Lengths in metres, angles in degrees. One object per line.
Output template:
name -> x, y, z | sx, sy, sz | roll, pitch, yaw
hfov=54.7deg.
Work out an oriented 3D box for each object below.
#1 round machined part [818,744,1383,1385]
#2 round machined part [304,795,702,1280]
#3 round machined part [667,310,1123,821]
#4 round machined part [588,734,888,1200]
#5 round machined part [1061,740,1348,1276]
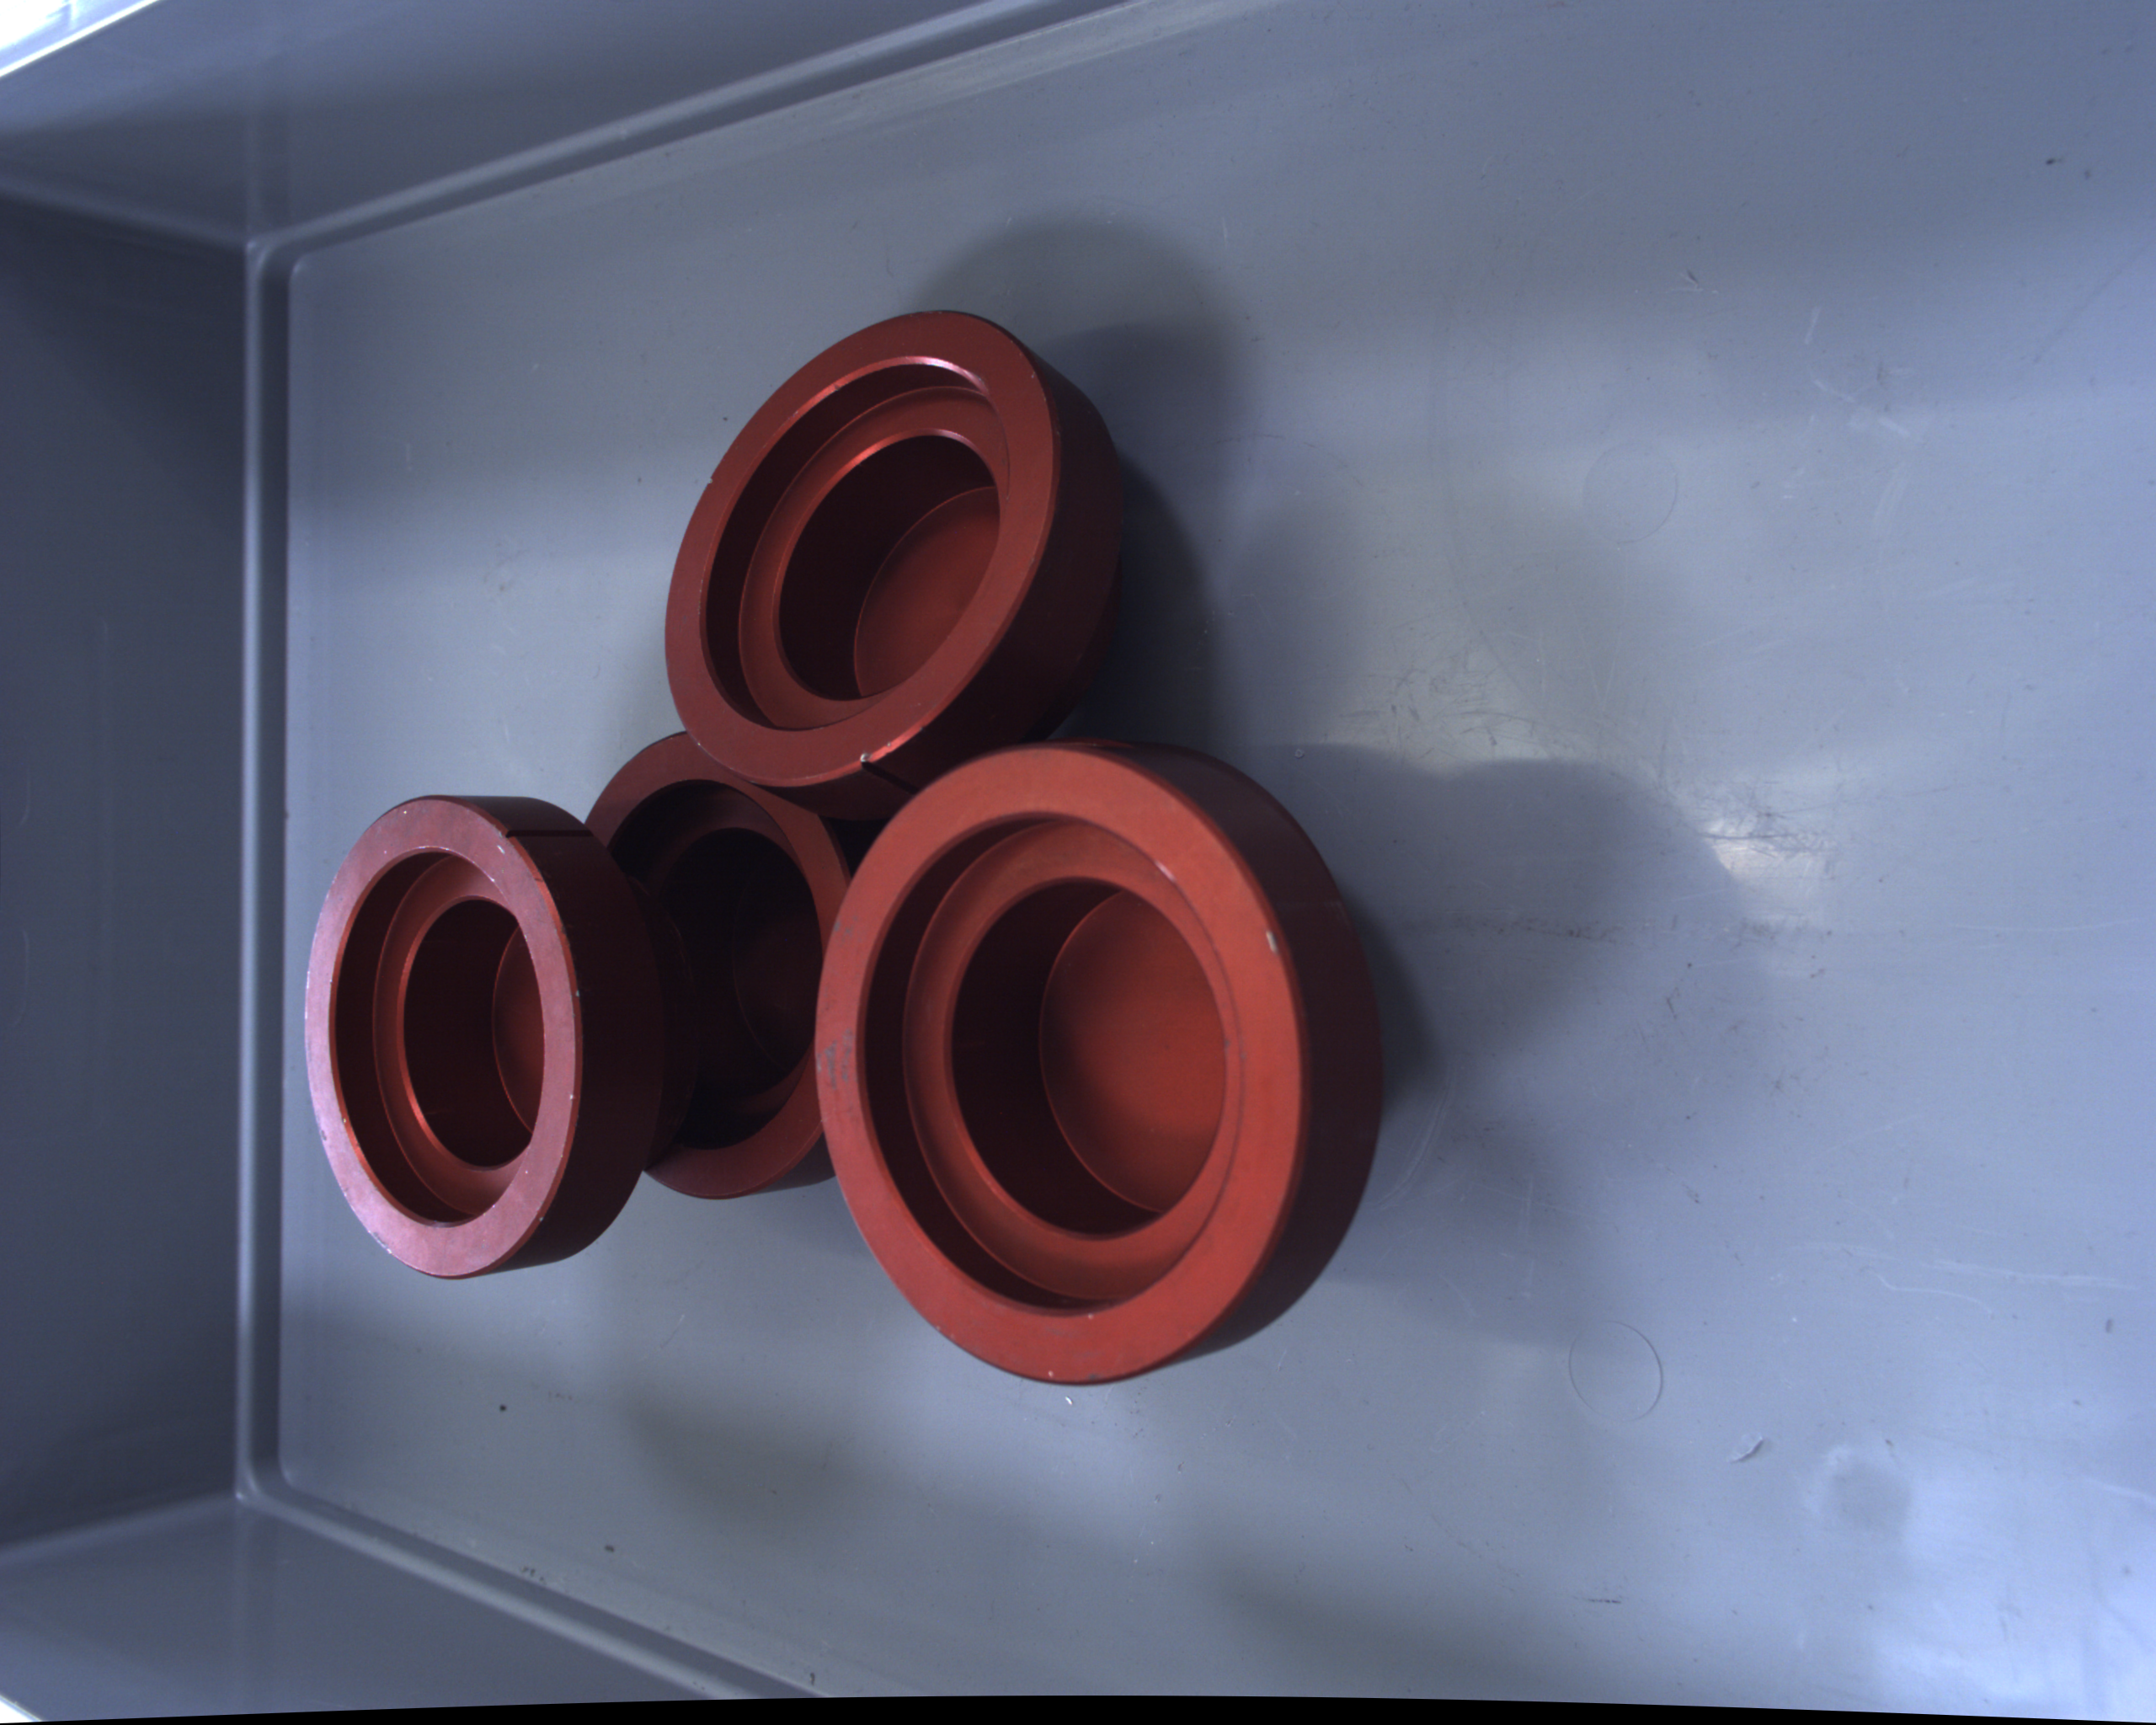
round machined part -> 0.007, 0.030, 0.334 | 0.098, 0.042, 0.097 | 0, 90, 40
round machined part -> -0.117, 0.035, 0.436 | 0.098, 0.042, 0.097 | 0, 90, 40
round machined part -> -0.031, -0.054, 0.407 | 0.098, 0.042, 0.098 | -15, 63, 33
round machined part -> -0.065, 0.021, 0.448 | 0.098, 0.042, 0.097 | 0, 90, 40
round machined part -> 0.012, 0.027, 0.385 | 0.098, 0.042, 0.097 | 0, 90, 40
